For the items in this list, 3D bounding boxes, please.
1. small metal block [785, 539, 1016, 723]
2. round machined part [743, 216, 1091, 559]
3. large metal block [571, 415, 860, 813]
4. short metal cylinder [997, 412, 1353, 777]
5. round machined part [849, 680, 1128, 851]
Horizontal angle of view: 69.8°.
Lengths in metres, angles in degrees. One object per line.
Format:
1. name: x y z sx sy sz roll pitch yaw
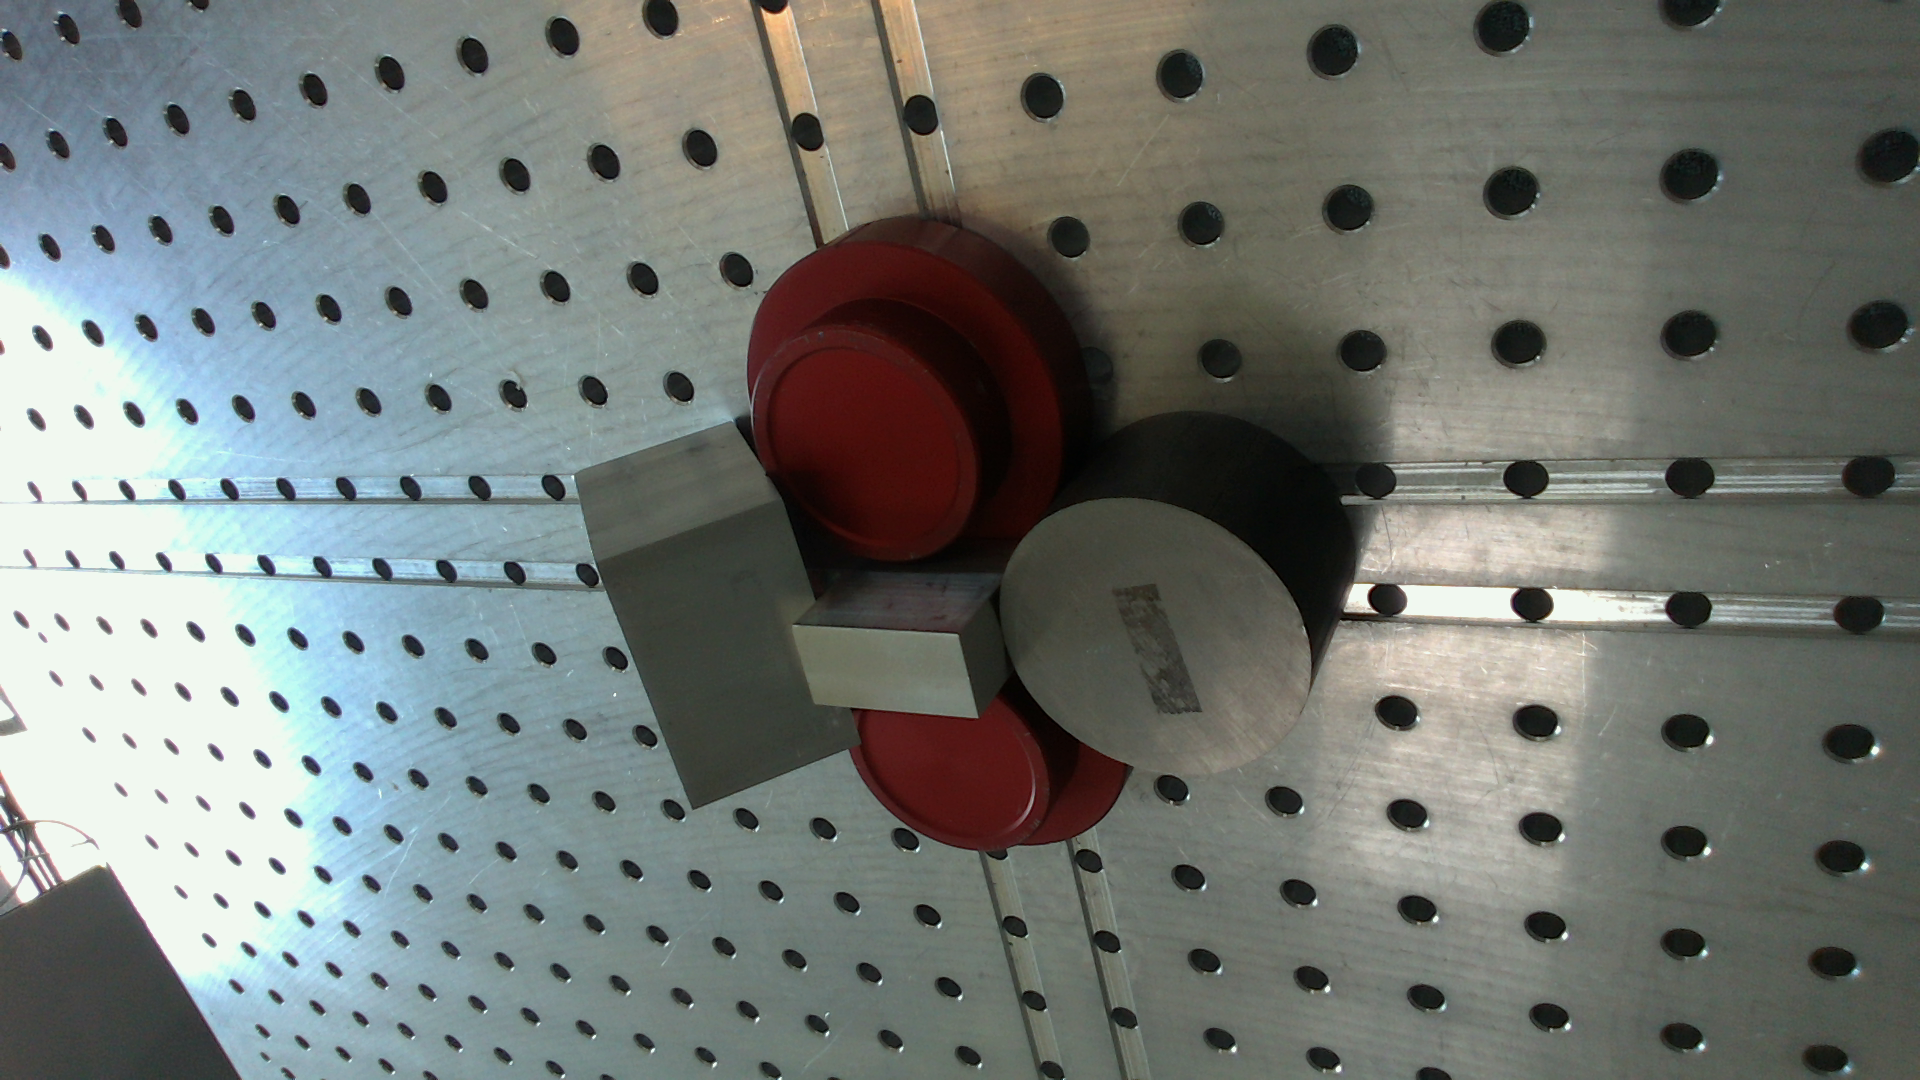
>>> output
1. small metal block: -0.010 0.022 0.370 0.050 0.050 0.025 1 119 28
2. round machined part: -0.017 -0.034 0.374 0.098 0.042 0.098 13 124 21
3. large metal block: -0.073 0.018 0.404 0.050 0.080 0.080 -20 115 -11
4. short metal cylinder: 0.056 0.014 0.357 0.080 0.050 0.080 13 124 21
5. round machined part: 0.004 0.054 0.417 0.098 0.042 0.098 13 124 21
